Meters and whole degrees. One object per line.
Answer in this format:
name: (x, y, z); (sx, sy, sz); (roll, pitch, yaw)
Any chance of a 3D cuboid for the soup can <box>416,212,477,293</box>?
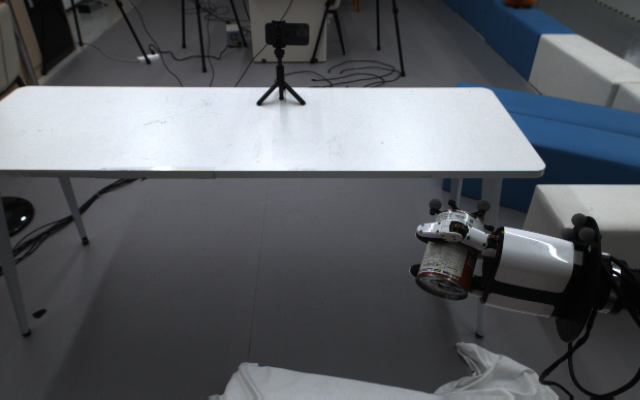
soup can: (0.175, 0.070, 0.643); (0.067, 0.067, 0.101); (15, 64, 18)
